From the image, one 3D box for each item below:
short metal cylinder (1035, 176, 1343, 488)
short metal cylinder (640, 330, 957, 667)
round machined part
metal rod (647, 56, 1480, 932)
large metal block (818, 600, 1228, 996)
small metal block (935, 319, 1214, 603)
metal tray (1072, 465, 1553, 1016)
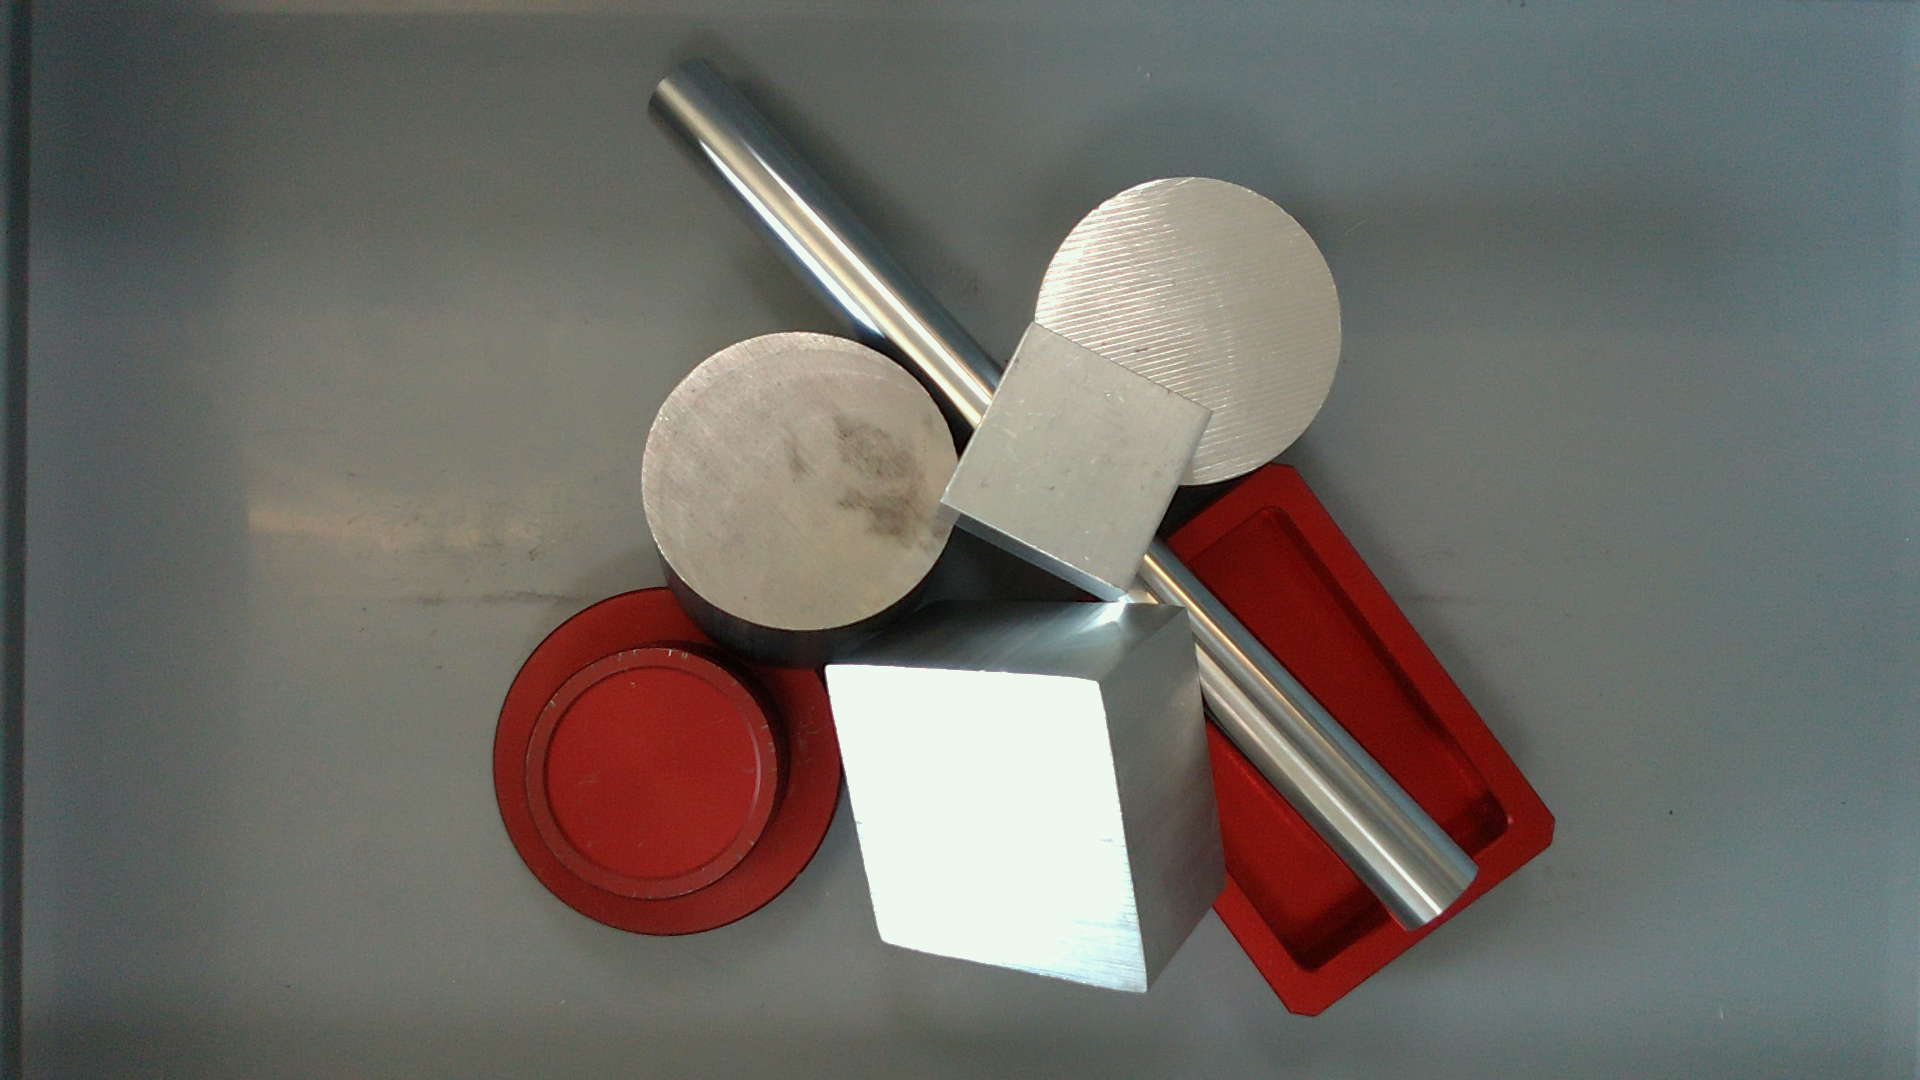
[{"bbox_3d":[0.060,-0.054,0.382,0.080,0.050,0.080,0,90,0],"label":"short metal cylinder"},{"bbox_3d":[-0.043,-0.009,0.370,0.080,0.050,0.080,2,74,-8],"label":"short metal cylinder"},{"bbox_3d":[-0.082,0.062,0.385,0.098,0.042,0.098,0,90,0],"label":"round machined part"},{"bbox_3d":[0.021,-0.019,0.369,0.025,0.025,0.300,-43,81,0],"label":"metal rod"},{"bbox_3d":[0.018,0.062,0.356,0.080,0.050,0.080,-1,107,33],"label":"large metal block"},{"bbox_3d":[0.027,-0.019,0.341,0.050,0.025,0.050,26,82,0],"label":"small metal block"},{"bbox_3d":[0.091,0.055,0.392,0.090,0.030,0.130,-36,90,0],"label":"metal tray"}]
